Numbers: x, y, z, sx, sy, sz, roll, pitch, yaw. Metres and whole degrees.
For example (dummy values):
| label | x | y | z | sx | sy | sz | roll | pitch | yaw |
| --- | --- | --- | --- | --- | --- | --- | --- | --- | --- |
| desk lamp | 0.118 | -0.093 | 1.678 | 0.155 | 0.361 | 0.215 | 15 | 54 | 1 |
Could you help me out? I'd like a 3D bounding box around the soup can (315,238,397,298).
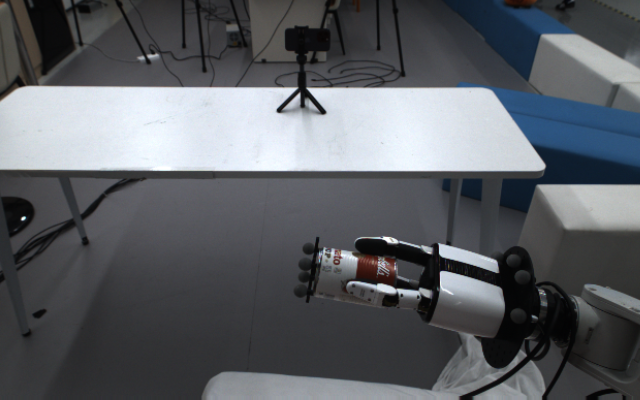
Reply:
| label | x | y | z | sx | sy | sz | roll | pitch | yaw |
| --- | --- | --- | --- | --- | --- | --- | --- | --- | --- |
| soup can | 0.048 | 0.101 | 0.636 | 0.101 | 0.067 | 0.067 | 9 | 35 | 0 |
